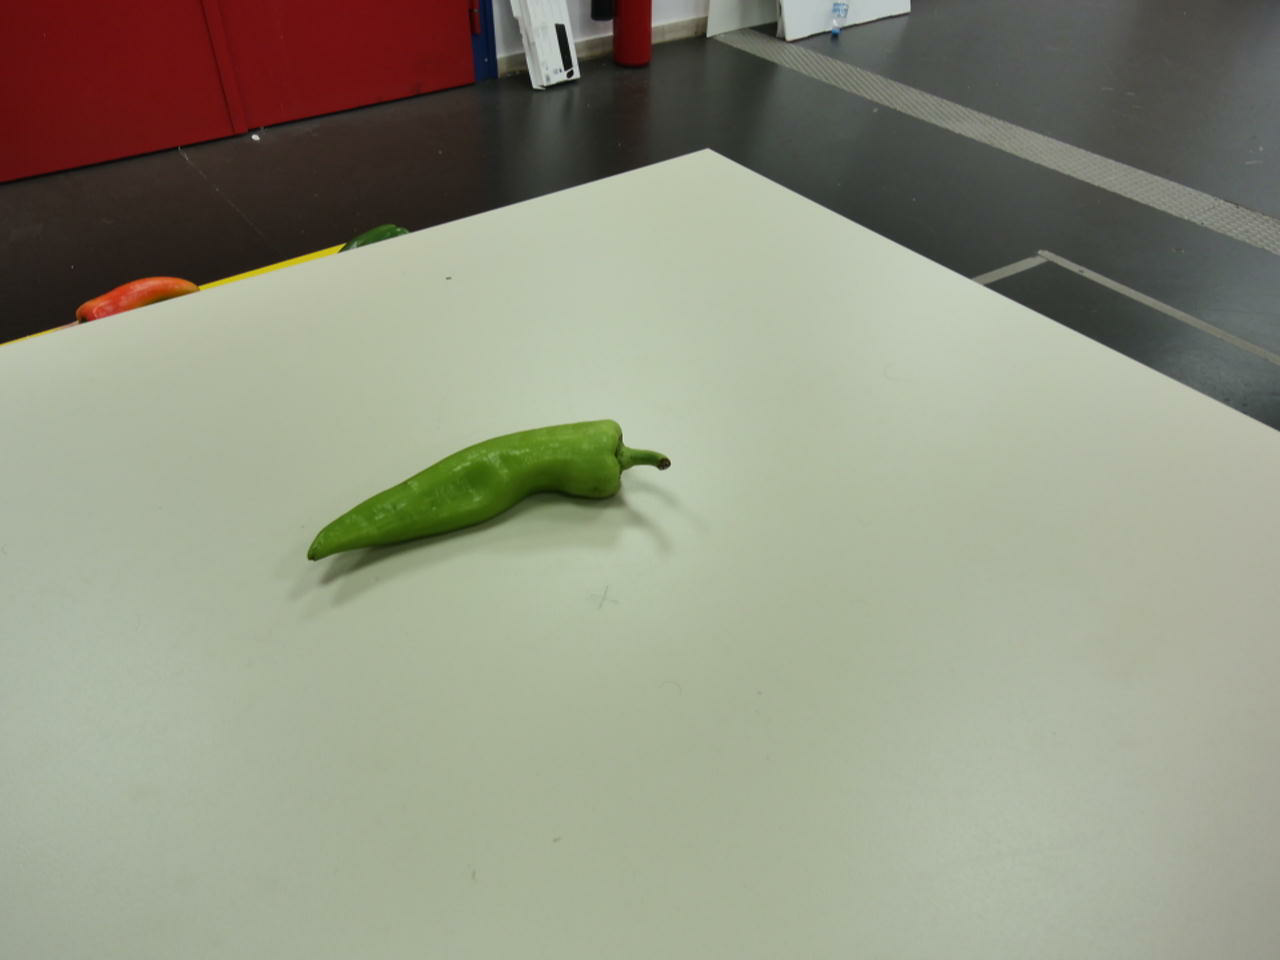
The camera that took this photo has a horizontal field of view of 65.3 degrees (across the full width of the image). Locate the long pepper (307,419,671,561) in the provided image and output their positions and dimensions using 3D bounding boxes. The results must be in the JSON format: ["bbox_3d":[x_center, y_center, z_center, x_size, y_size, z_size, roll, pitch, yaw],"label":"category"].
[{"bbox_3d":[-0.087,0.002,0.571,0.204,0.045,0.065,-13,40,-17],"label":"long pepper"}]
